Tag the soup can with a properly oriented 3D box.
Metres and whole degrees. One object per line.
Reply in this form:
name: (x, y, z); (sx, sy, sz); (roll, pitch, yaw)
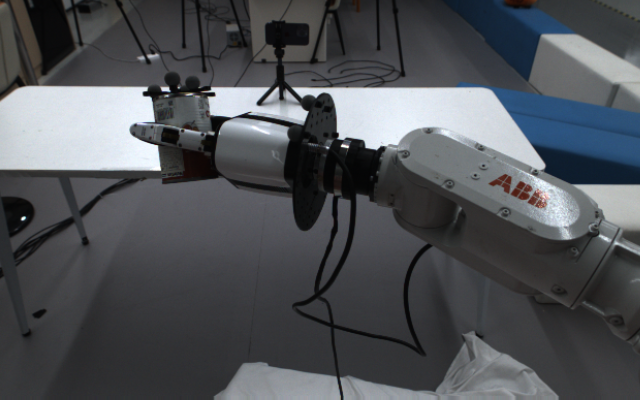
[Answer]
soup can: (-0.163, -0.072, 0.591); (0.067, 0.101, 0.067); (-7, 3, 0)
